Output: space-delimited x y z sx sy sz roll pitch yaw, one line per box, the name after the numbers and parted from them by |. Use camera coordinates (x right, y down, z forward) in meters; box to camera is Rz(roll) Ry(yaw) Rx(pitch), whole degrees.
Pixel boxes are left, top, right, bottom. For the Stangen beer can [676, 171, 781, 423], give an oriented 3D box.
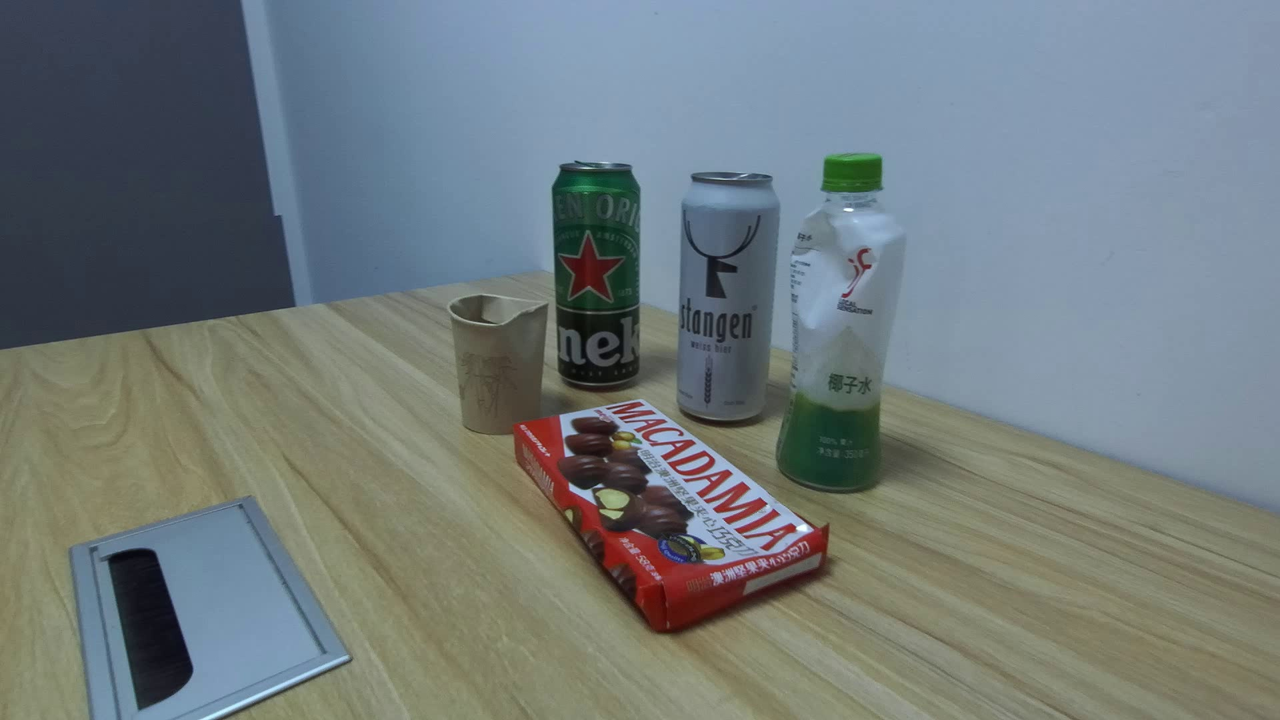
0.061 -0.042 0.494 0.067 0.171 0.067 1 19 0 | Stangen beer can

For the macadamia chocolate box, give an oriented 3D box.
0.006 0.072 0.386 0.106 0.028 0.182 -11 23 -28 | macadamia chocolate box

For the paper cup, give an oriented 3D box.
-0.101 0.003 0.489 0.066 0.084 0.072 11 21 26 | paper cup

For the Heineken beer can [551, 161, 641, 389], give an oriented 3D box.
-0.032 -0.064 0.553 0.067 0.169 0.067 1 18 0 | Heineken beer can

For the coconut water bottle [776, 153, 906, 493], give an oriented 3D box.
0.117 -0.021 0.407 0.069 0.187 0.069 1 19 0 | coconut water bottle
